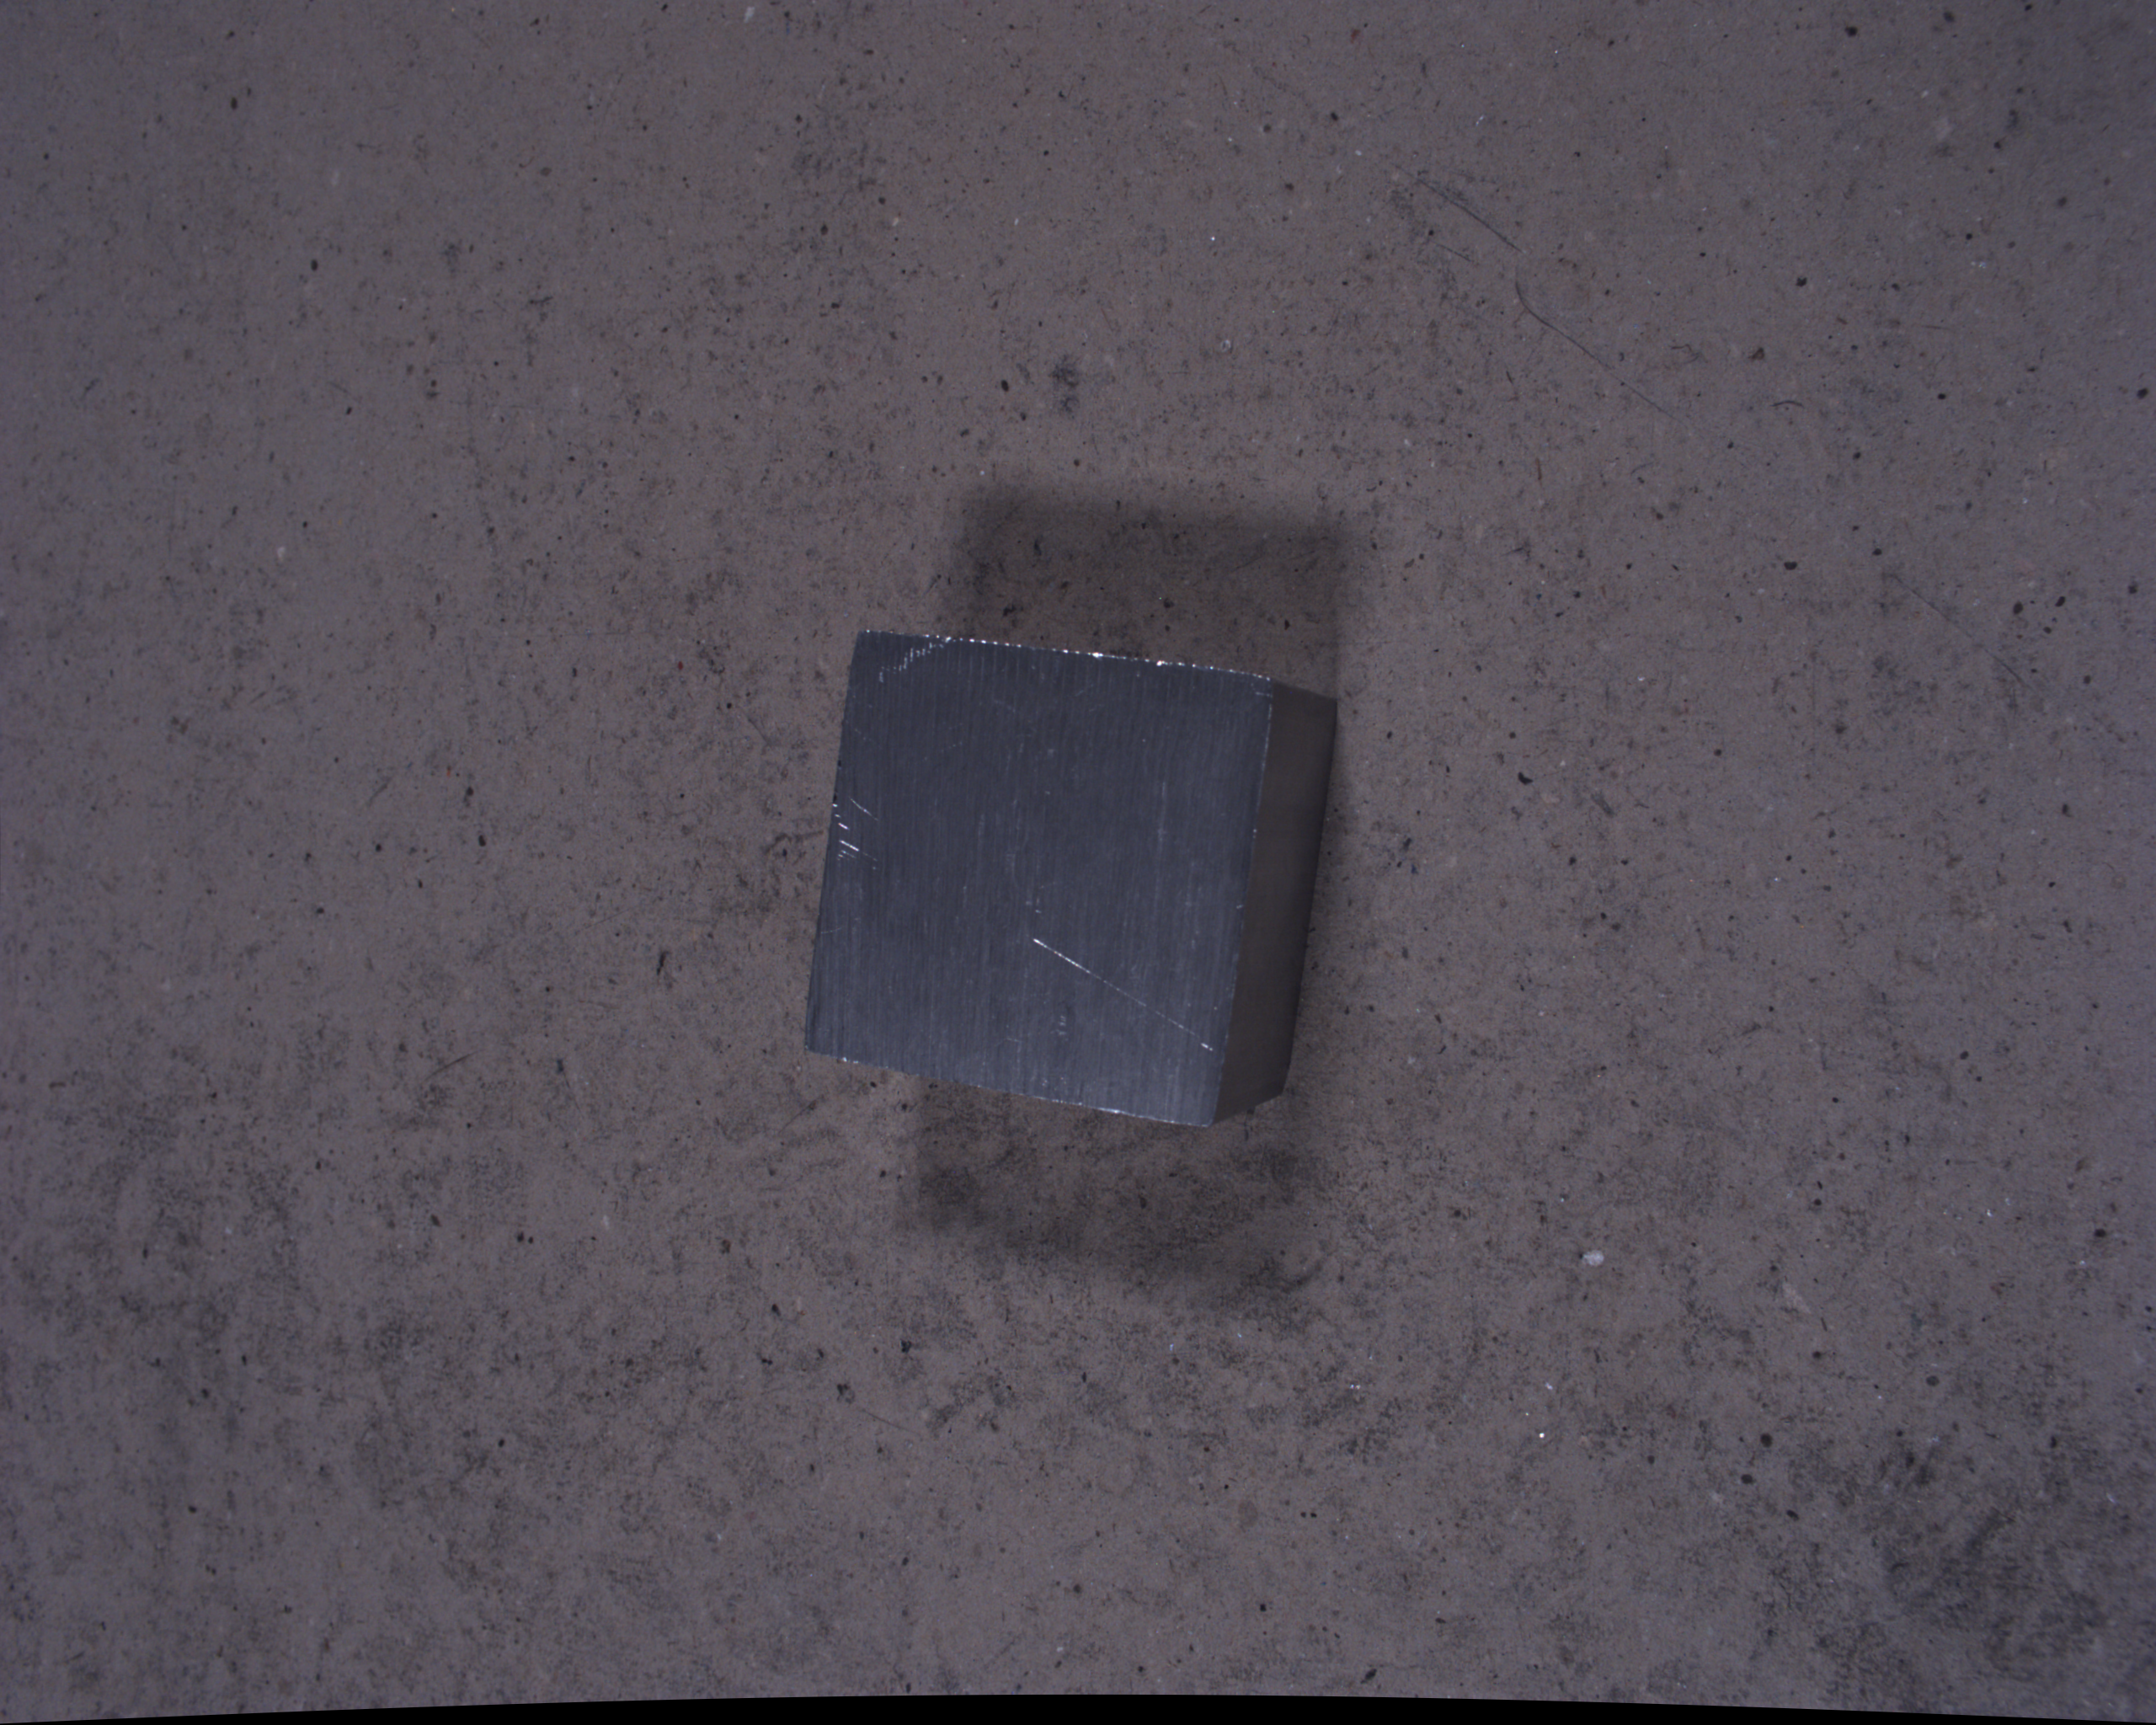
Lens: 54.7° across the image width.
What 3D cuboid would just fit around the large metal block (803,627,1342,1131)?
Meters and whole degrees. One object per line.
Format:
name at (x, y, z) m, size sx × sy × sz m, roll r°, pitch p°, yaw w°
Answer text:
large metal block at (0.000, 0.001, 0.396) m, size 0.080 × 0.050 × 0.079 m, roll 8°, pitch 93°, yaw 19°
